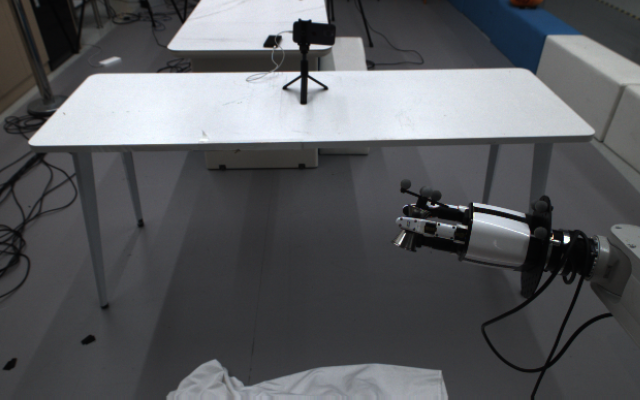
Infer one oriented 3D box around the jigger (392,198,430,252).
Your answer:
[{"bbox_3d":[0.145,0.042,0.772,0.043,0.071,0.043,22,5,-2],"label":"jigger"}]
